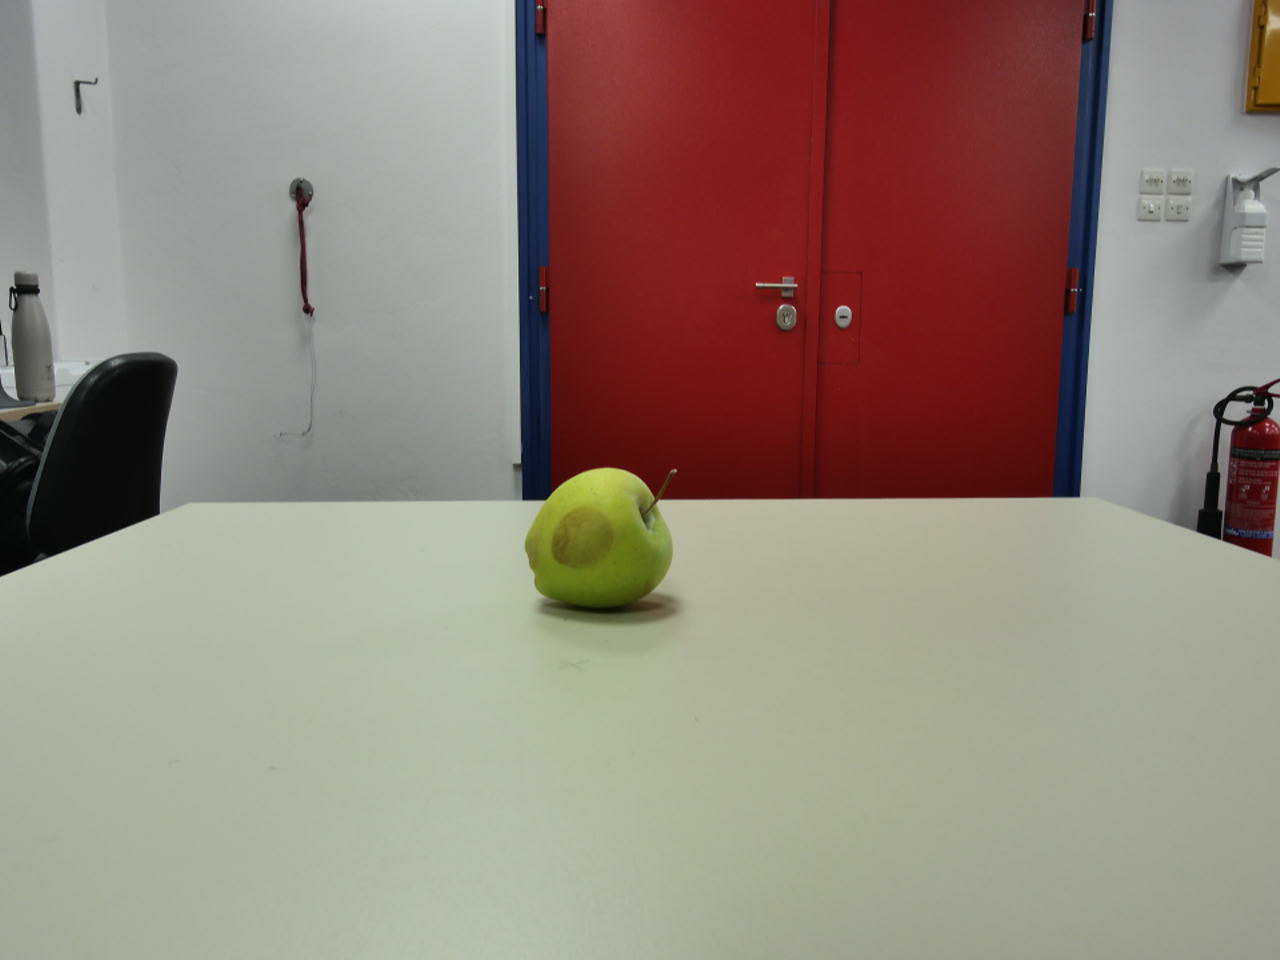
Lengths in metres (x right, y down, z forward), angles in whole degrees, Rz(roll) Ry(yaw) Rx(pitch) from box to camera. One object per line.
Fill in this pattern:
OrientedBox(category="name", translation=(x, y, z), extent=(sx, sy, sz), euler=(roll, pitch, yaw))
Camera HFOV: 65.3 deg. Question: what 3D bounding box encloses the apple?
OrientedBox(category="apple", translation=(-0.021, 0.031, 0.542), extent=(0.077, 0.075, 0.072), euler=(6, 9, 43))
